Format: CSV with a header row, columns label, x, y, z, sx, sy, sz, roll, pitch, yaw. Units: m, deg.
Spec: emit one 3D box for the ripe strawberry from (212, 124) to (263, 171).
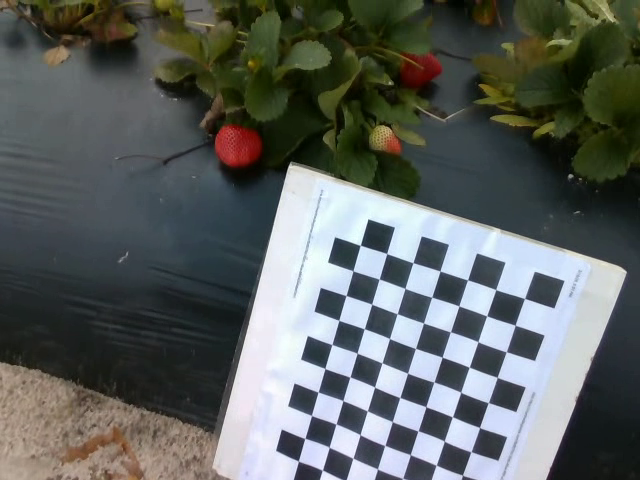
label,x,y,z,sx,sy,sz,roll,pitch,yaw
ripe strawberry,-0.066,-0.066,0.429,0.037,0.046,0.036,-28,-49,21
